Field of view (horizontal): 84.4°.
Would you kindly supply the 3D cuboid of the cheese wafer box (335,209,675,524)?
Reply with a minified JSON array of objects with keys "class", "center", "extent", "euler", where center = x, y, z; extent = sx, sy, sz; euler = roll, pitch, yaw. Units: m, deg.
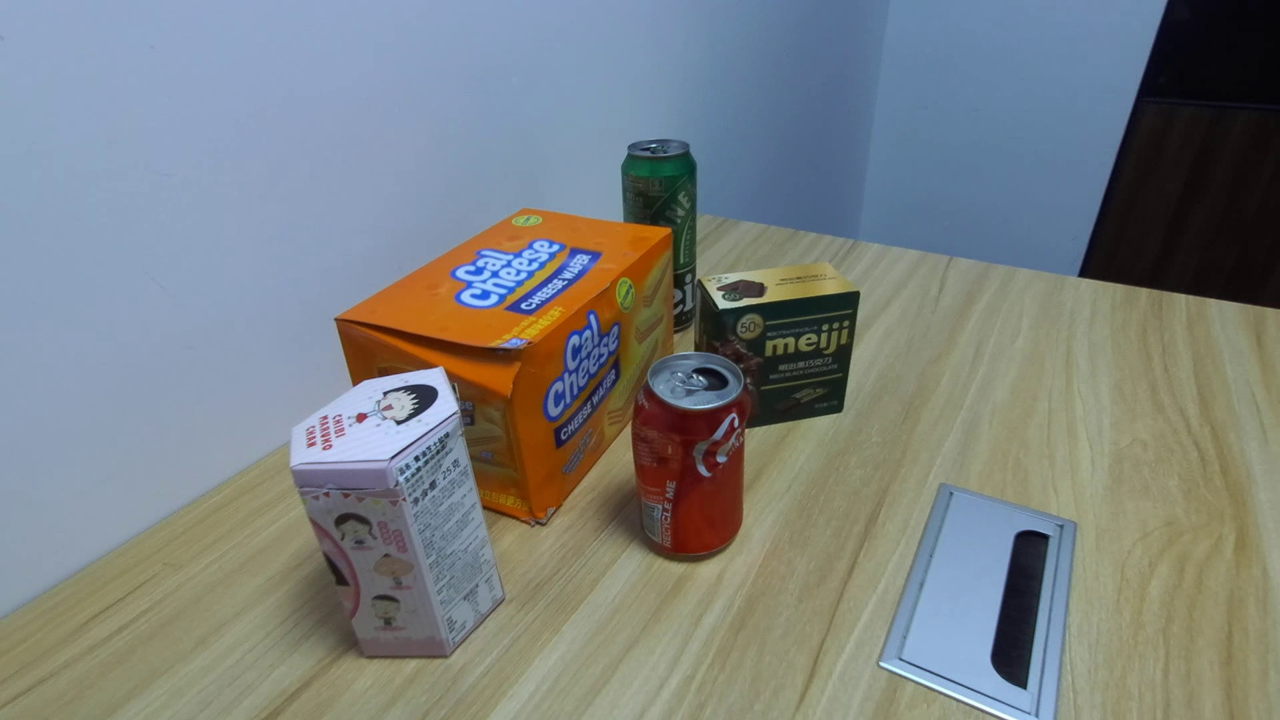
[{"class":"cheese wafer box","center":[-0.082,-0.013,0.529],"extent":[0.149,0.137,0.227],"euler":[13,34,23]}]

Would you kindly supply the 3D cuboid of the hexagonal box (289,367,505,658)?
[{"class":"hexagonal box","center":[-0.124,0.082,0.375],"extent":[0.085,0.135,0.091],"euler":[-16,34,-21]}]

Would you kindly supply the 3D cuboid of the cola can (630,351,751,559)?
[{"class":"cola can","center":[0.031,0.057,0.423],"extent":[0.066,0.117,0.066],"euler":[7,33,15]}]

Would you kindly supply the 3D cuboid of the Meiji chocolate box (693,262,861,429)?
[{"class":"Meiji chocolate box","center":[0.100,-0.009,0.534],"extent":[0.110,0.109,0.056],"euler":[-8,32,-11]}]

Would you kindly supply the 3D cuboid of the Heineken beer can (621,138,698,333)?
[{"class":"Heineken beer can","center":[0.020,-0.107,0.645],"extent":[0.067,0.169,0.067],"euler":[-2,27,1]}]
